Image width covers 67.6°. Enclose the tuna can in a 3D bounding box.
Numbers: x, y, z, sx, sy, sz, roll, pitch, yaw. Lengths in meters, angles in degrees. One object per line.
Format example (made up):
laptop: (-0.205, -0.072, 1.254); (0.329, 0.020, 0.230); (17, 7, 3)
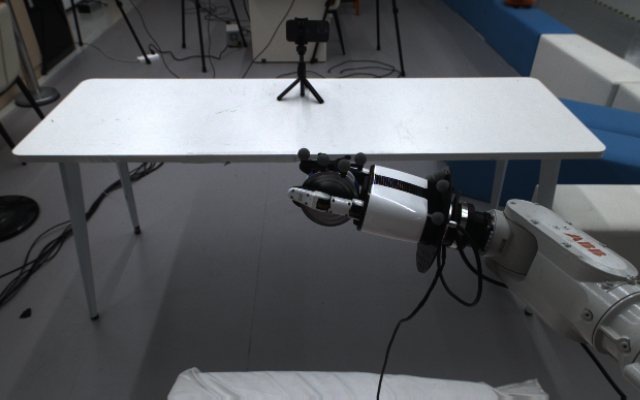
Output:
tuna can: (0.016, -0.007, 0.699); (0.085, 0.085, 0.034); (6, 22, 6)
